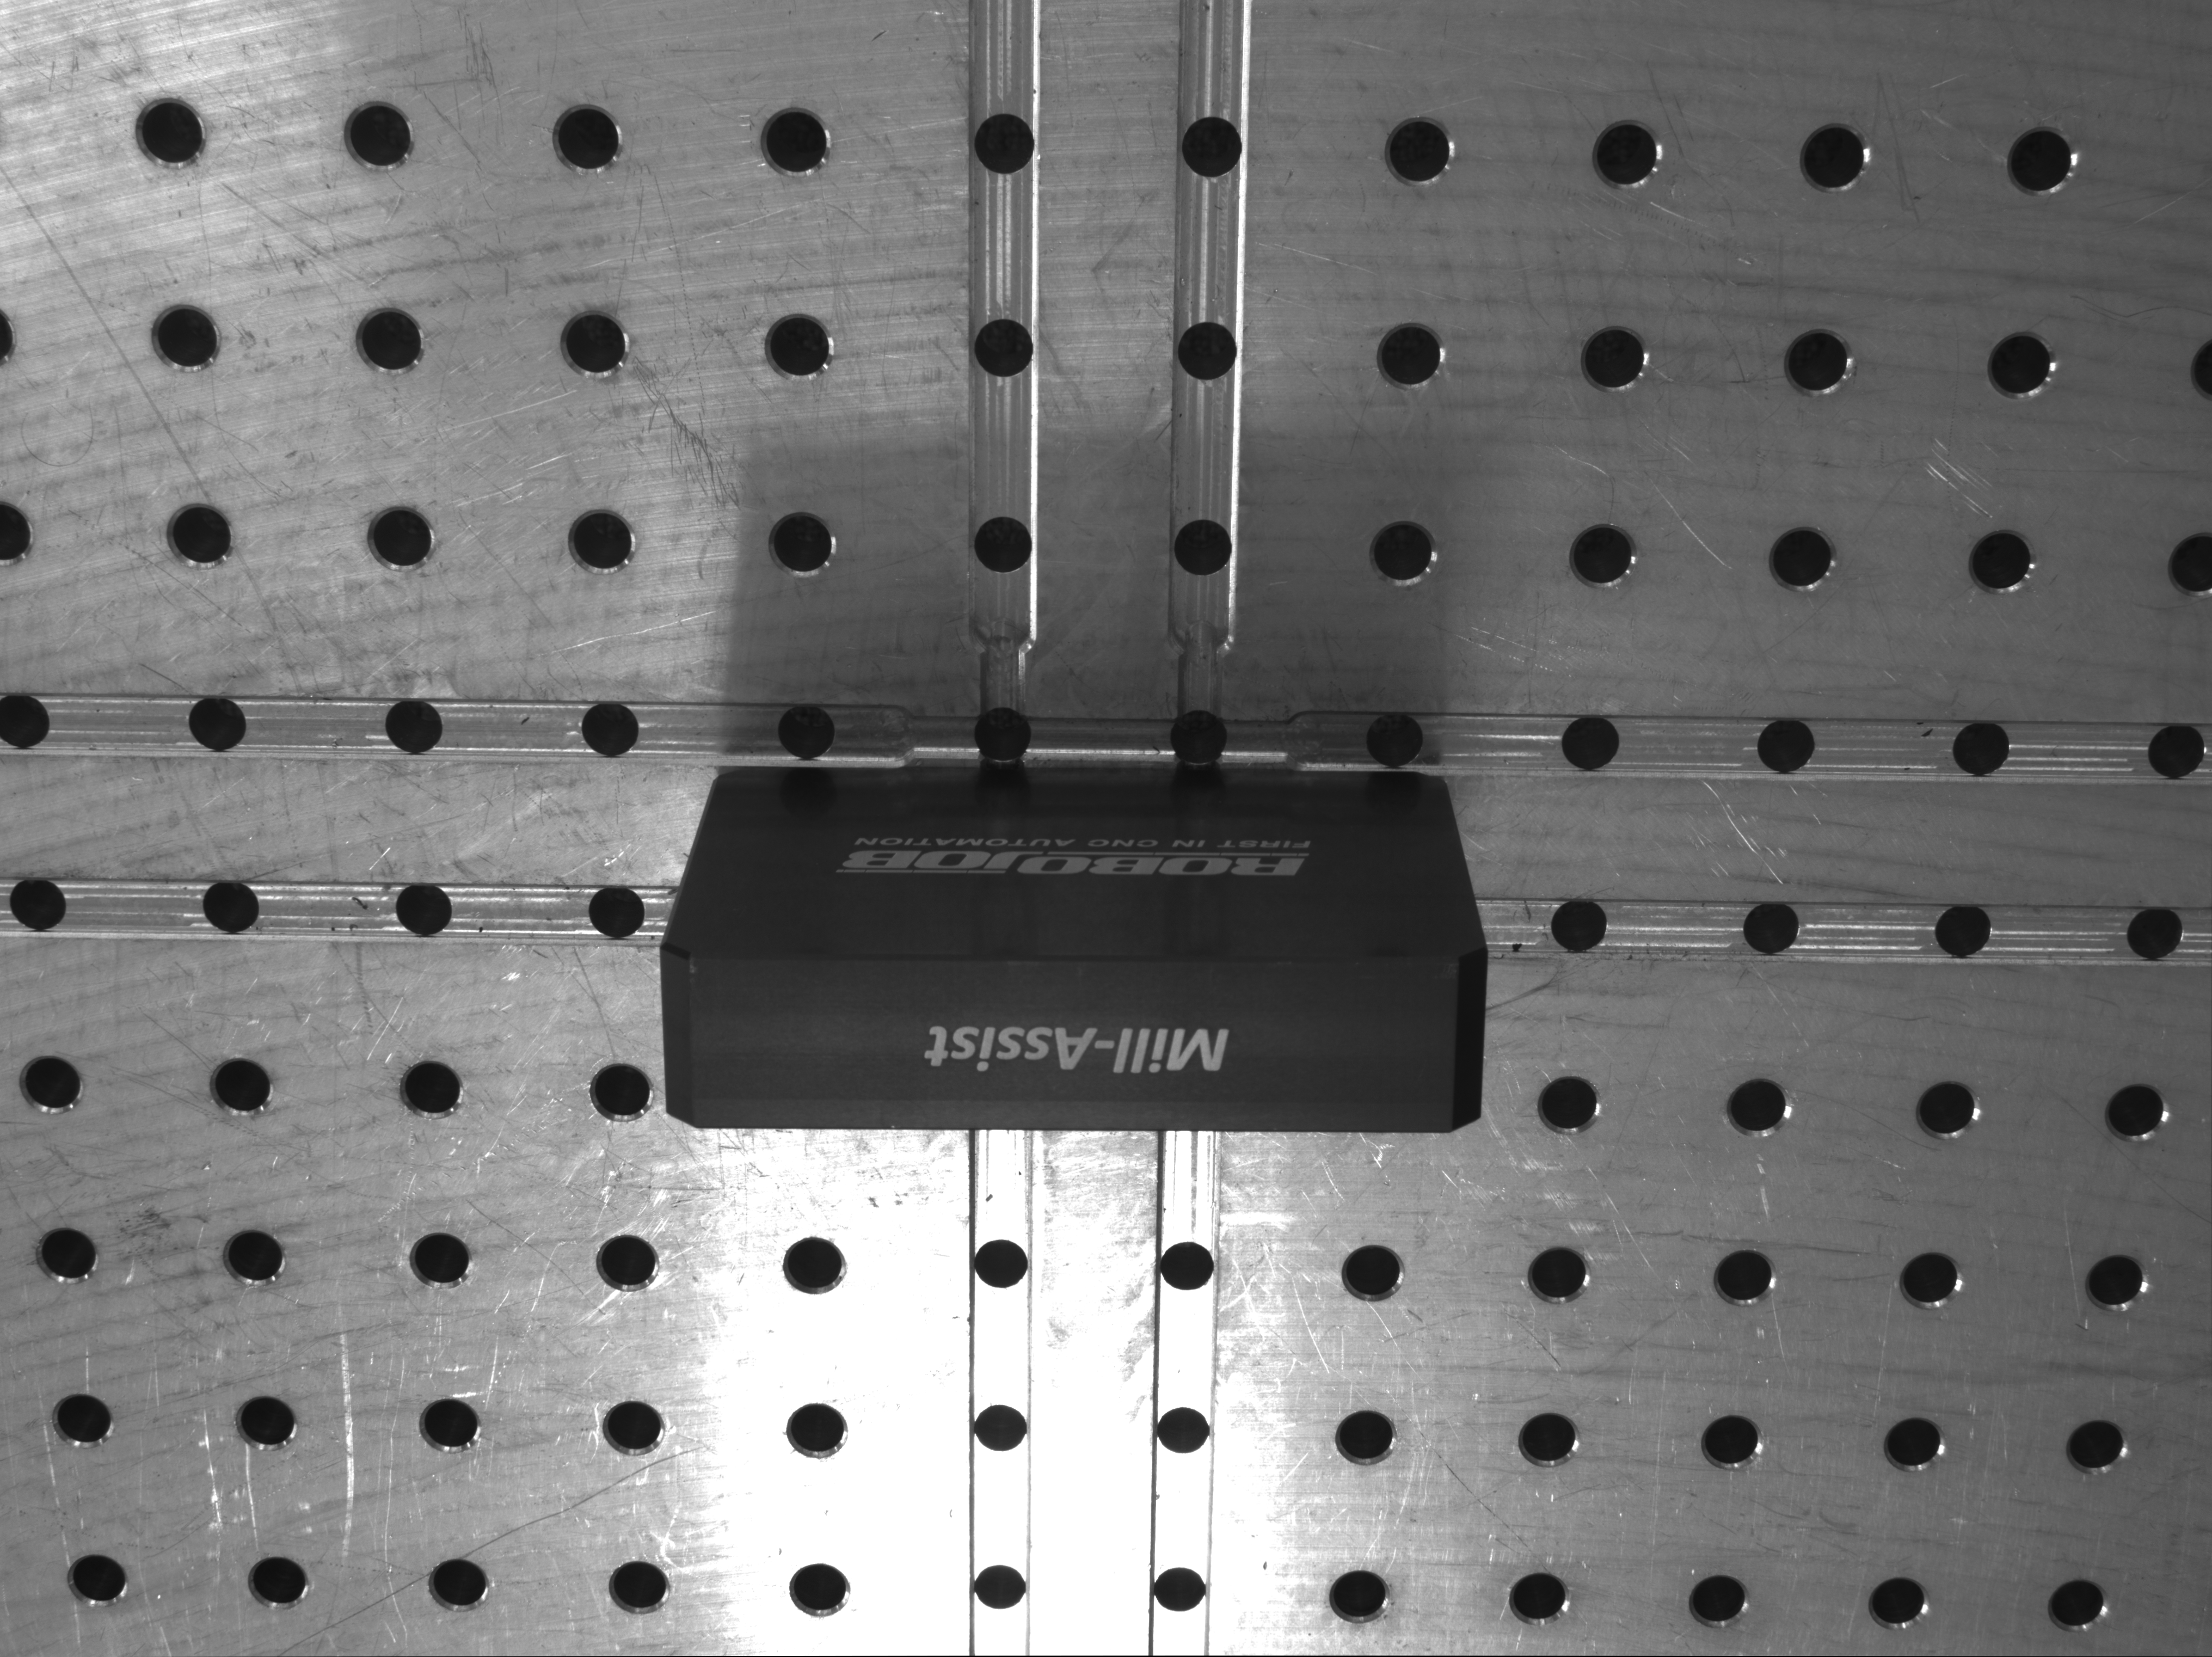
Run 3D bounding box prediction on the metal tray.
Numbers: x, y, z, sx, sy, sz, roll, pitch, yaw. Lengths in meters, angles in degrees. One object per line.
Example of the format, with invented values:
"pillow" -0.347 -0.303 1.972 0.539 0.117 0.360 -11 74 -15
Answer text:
"metal tray" -0.005 0.019 0.619 0.130 0.090 0.030 0 110 0
